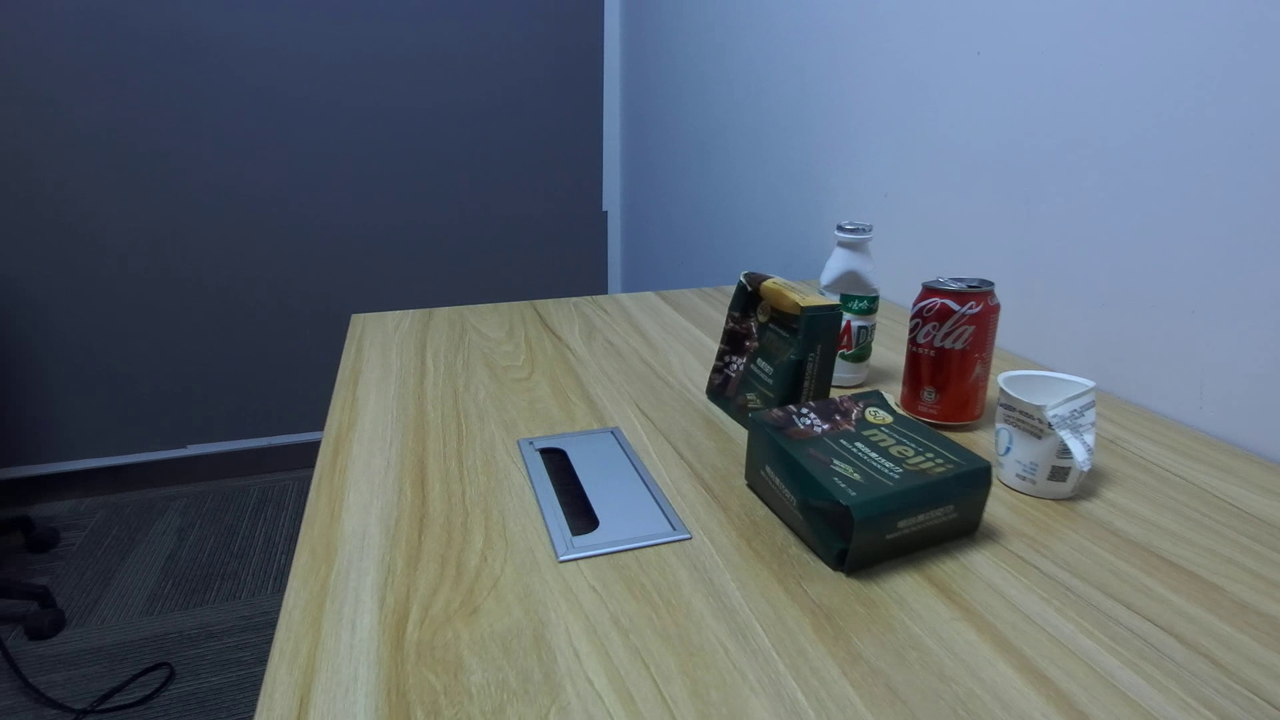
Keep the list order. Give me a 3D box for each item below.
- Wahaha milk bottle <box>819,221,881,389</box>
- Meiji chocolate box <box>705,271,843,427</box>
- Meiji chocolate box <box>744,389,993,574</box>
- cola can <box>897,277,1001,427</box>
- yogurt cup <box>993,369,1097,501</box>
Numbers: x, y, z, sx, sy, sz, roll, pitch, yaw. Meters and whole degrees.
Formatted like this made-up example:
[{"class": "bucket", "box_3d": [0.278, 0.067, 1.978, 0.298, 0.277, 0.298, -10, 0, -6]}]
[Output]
[{"class": "Wahaha milk bottle", "box_3d": [0.188, -0.049, 0.641, 0.056, 0.148, 0.056, 1, 22, 0]}, {"class": "Meiji chocolate box", "box_3d": [0.109, -0.005, 0.569, 0.052, 0.117, 0.117, -1, 19, -24]}, {"class": "Meiji chocolate box", "box_3d": [0.139, 0.073, 0.446, 0.123, 0.058, 0.115, -8, 25, -21]}, {"class": "cola can", "box_3d": [0.252, -0.007, 0.573, 0.072, 0.117, 0.065, -9, 24, -24]}, {"class": "yogurt cup", "box_3d": [0.275, 0.051, 0.484, 0.067, 0.070, 0.067, -2, 22, 1]}]
